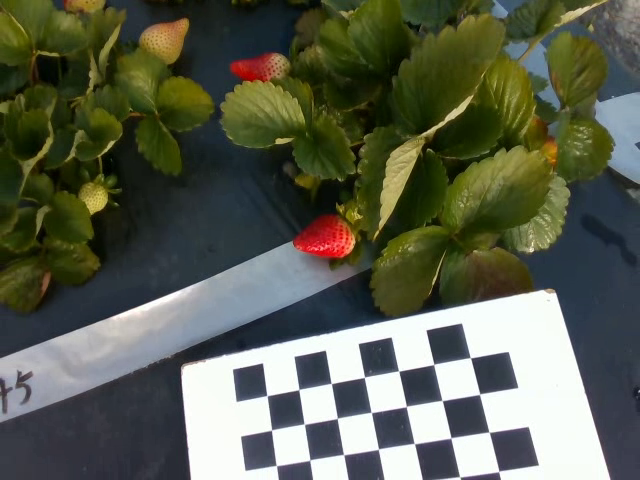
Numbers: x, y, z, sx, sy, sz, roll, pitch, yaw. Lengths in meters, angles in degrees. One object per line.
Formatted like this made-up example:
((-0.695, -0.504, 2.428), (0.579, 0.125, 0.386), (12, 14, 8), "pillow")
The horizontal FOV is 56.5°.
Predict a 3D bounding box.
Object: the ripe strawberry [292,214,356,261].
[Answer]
((0.001, 0.000, 0.415), (0.055, 0.050, 0.036), (-15, -14, -8), "ripe strawberry")
